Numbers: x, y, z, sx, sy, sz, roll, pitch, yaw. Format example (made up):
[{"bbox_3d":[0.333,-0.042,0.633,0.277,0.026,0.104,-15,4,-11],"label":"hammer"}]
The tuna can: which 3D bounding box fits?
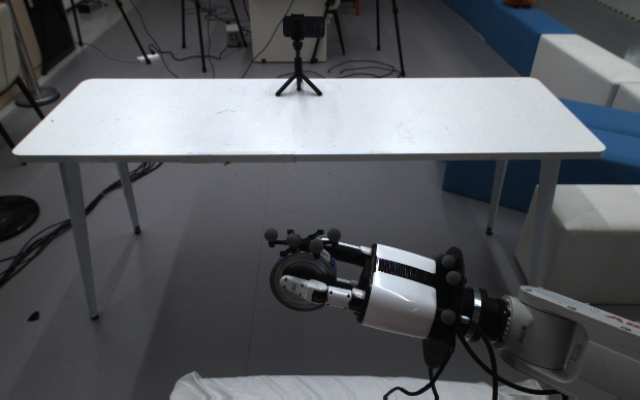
[{"bbox_3d":[-0.018,0.104,0.623,0.085,0.085,0.034,4,17,3],"label":"tuna can"}]
